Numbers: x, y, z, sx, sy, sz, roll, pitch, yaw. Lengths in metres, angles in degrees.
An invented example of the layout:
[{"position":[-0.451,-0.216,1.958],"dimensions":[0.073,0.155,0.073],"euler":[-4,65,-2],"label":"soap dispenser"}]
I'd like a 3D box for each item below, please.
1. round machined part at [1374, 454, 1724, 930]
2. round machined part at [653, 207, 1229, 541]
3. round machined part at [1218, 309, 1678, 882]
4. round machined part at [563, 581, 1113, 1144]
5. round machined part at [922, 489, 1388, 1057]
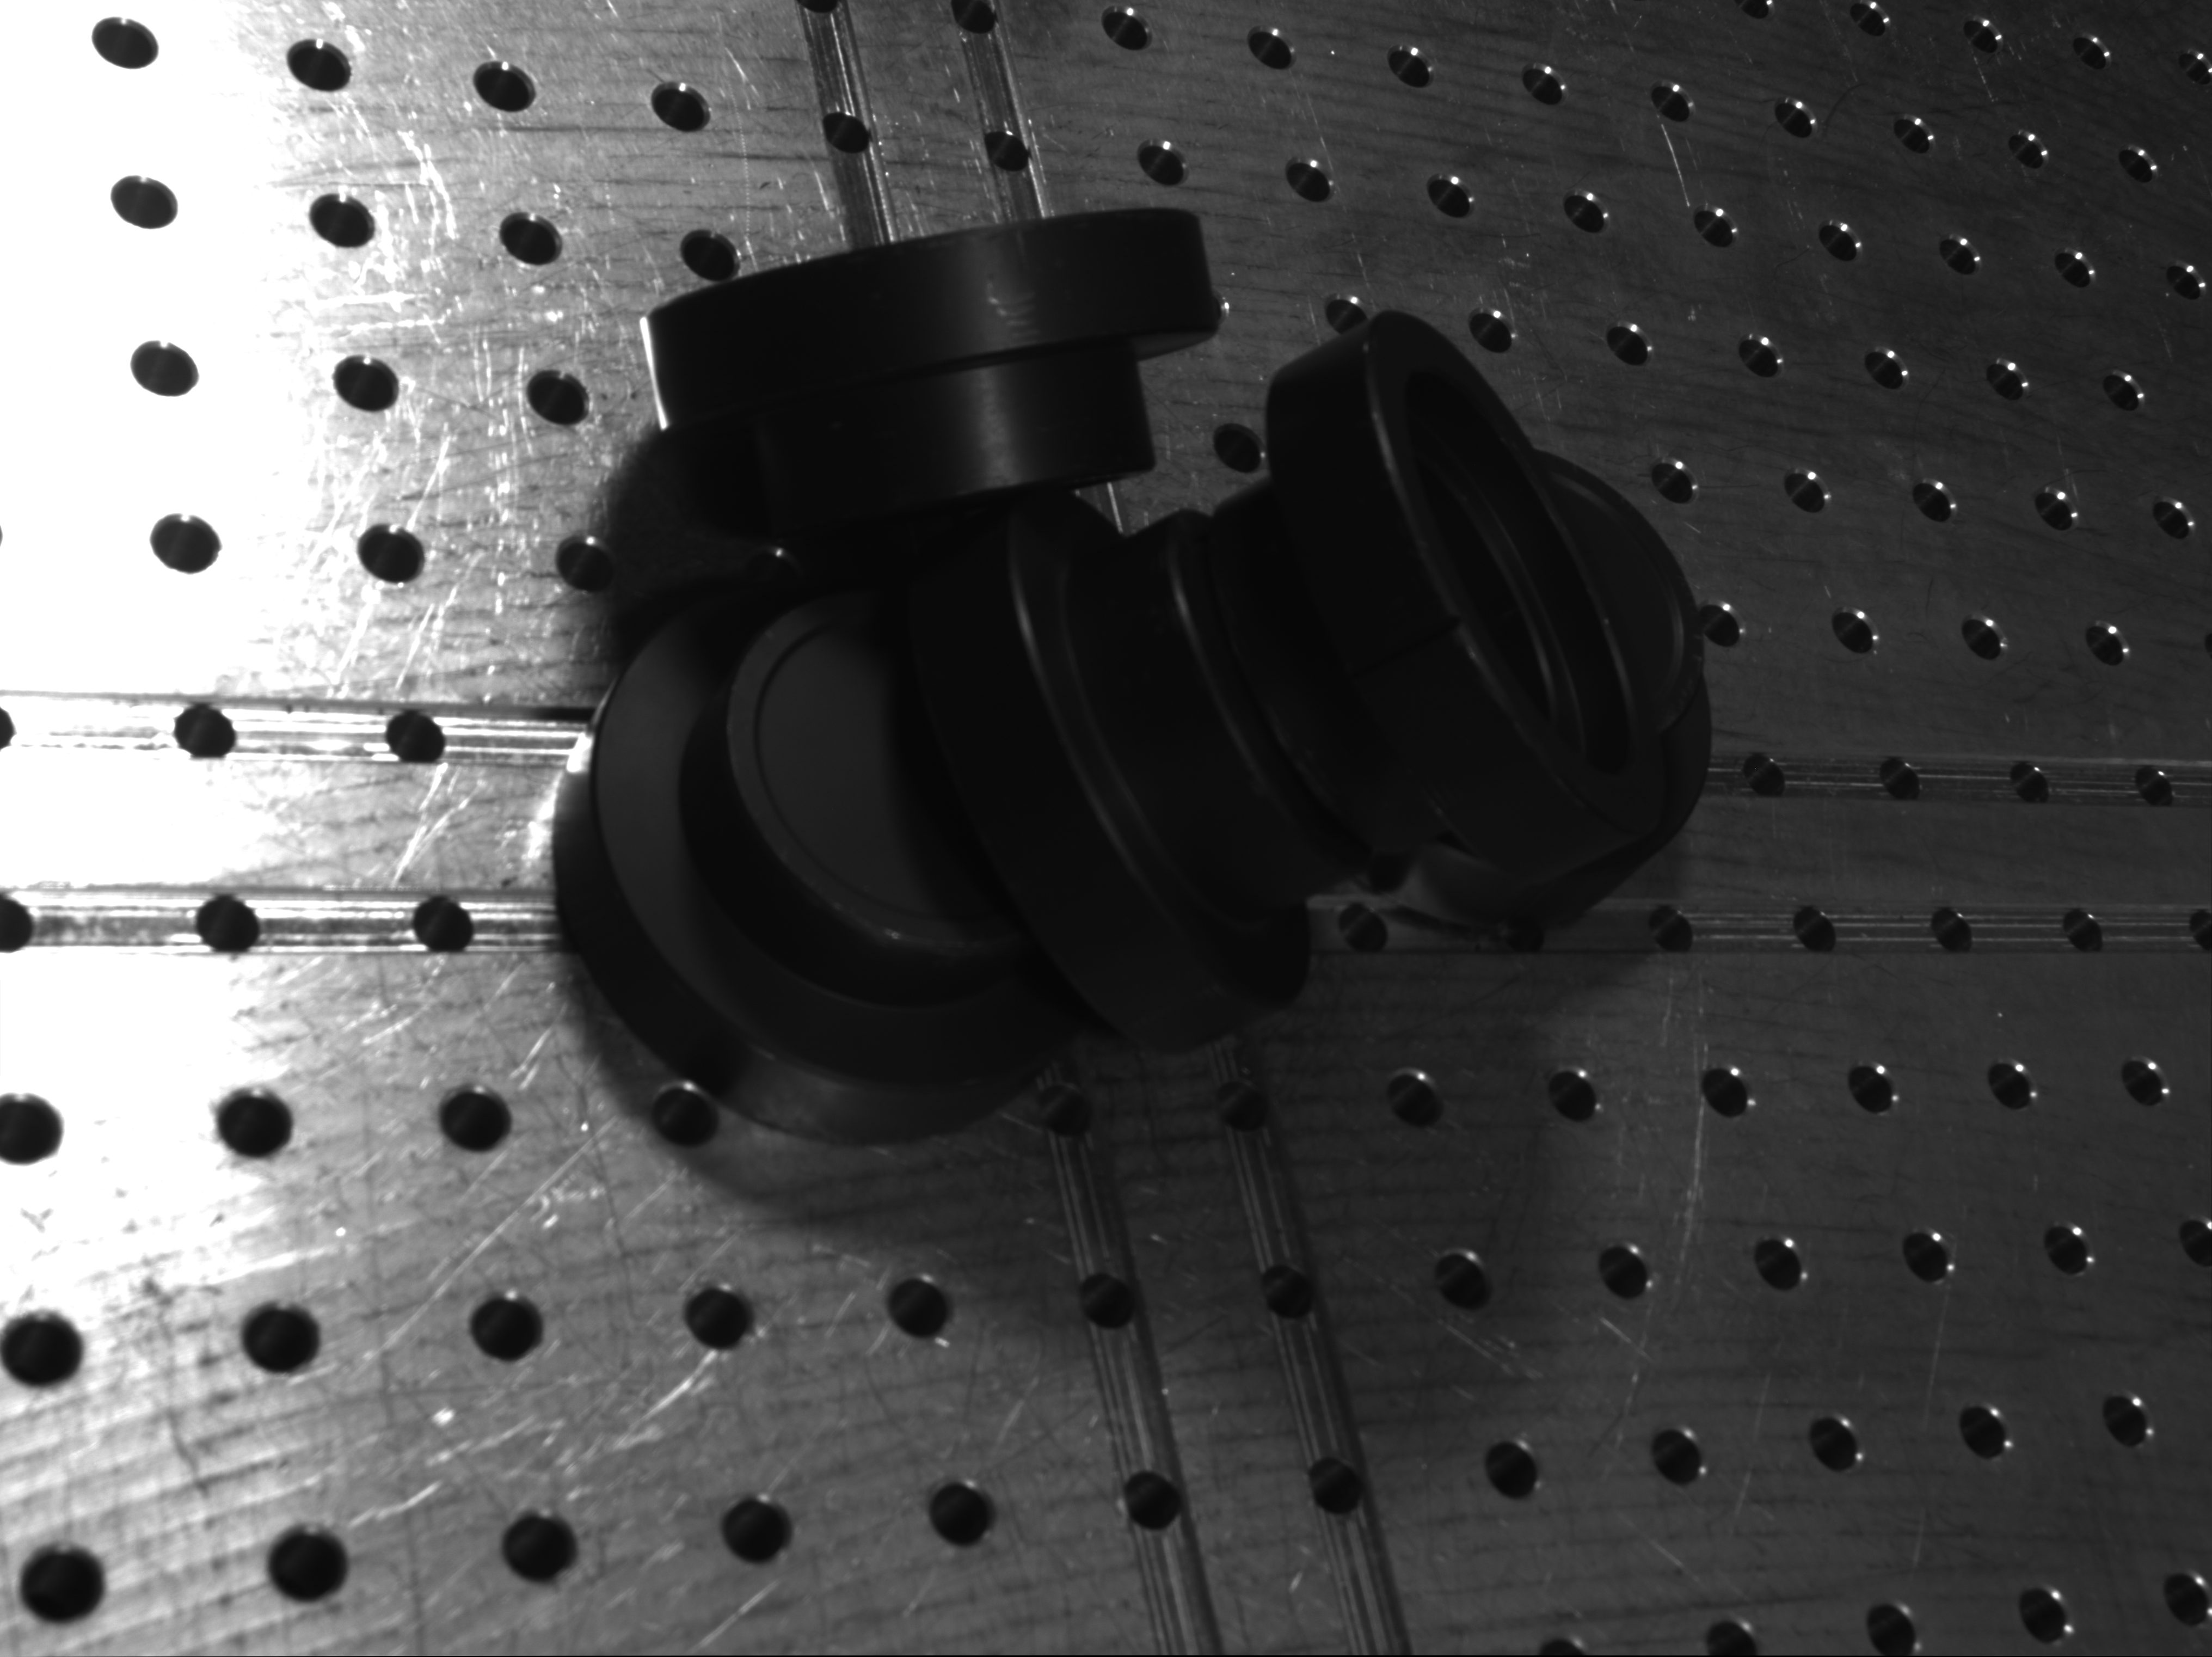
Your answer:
[{"position":[0.076,-0.034,0.693],"dimensions":[0.098,0.042,0.098],"euler":[14,56,-21],"label":"round machined part"},{"position":[-0.026,-0.076,0.635],"dimensions":[0.098,0.098,0.042],"euler":[-13,94,-33],"label":"round machined part"},{"position":[0.055,-0.035,0.621],"dimensions":[0.098,0.042,0.098],"euler":[47,28,-34],"label":"round machined part"},{"position":[-0.037,0.000,0.612],"dimensions":[0.098,0.042,0.098],"euler":[14,56,-21],"label":"round machined part"},{"position":[0.013,-0.014,0.617],"dimensions":[0.098,0.042,0.098],"euler":[52,21,-30],"label":"round machined part"}]
